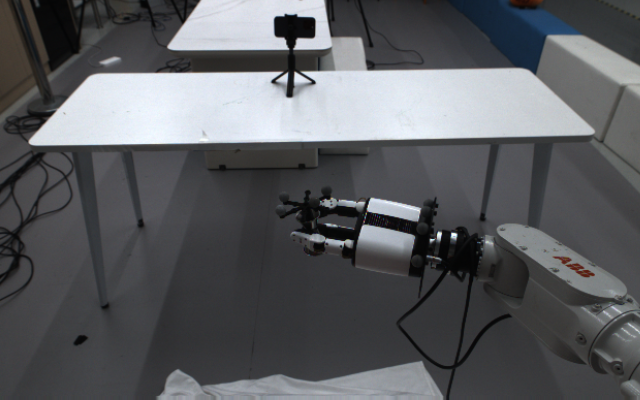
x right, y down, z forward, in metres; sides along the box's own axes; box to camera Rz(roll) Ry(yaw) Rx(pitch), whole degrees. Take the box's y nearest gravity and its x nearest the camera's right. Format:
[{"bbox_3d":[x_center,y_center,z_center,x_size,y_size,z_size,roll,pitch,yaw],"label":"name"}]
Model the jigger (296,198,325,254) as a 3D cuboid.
[{"bbox_3d":[-0.012,0.051,0.786,0.043,0.071,0.043,-10,32,6],"label":"jigger"}]
